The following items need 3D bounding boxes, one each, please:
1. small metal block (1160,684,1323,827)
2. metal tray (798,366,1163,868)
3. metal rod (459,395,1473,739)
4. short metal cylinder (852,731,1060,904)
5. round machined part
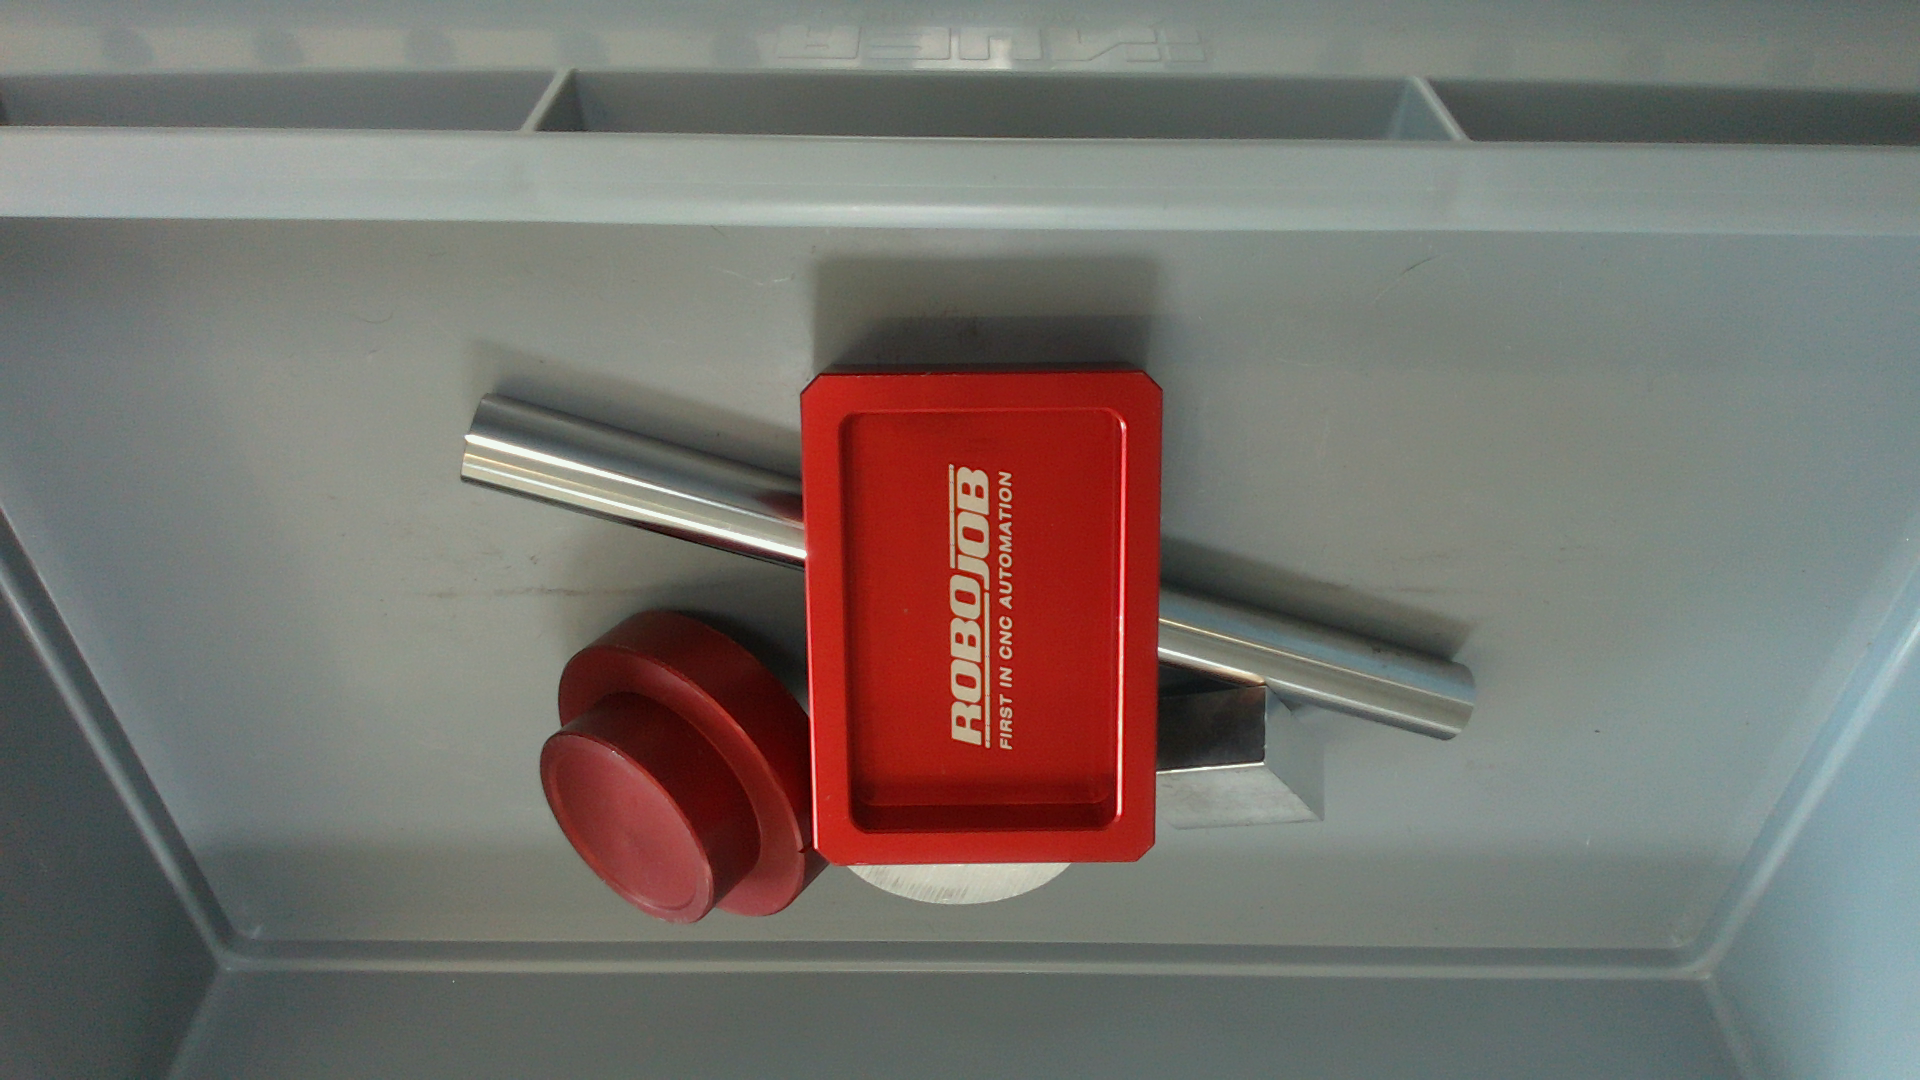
[{"bbox_3d":[0.081,0.069,0.434,0.050,0.025,0.050,-11,147,30],"label":"small metal block"},{"bbox_3d":[0.006,0.020,0.364,0.090,0.030,0.130,-1,101,-1],"label":"metal tray"},{"bbox_3d":[0.012,0.012,0.399,0.300,0.025,0.025,15,129,-13],"label":"metal rod"},{"bbox_3d":[-0.001,0.069,0.431,0.080,0.050,0.080,0,130,0],"label":"short metal cylinder"},{"bbox_3d":[-0.085,0.073,0.409,0.098,0.042,0.098,20,130,26],"label":"round machined part"}]
